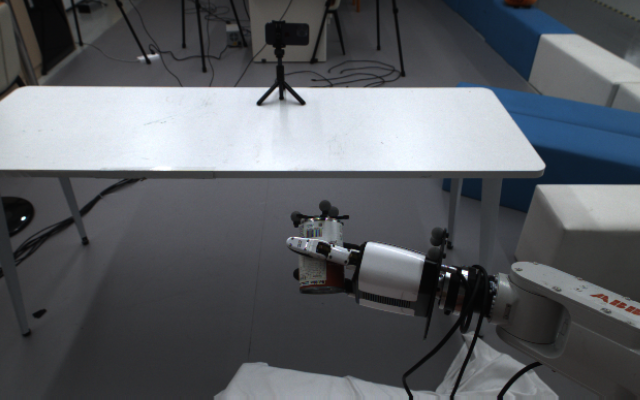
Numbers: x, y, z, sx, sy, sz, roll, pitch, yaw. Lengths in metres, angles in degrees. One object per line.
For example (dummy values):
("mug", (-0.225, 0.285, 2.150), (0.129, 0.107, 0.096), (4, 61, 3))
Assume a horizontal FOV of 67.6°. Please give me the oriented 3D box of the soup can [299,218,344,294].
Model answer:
("soup can", (0.004, 0.083, 0.706), (0.067, 0.067, 0.101), (-1, 71, -5))
